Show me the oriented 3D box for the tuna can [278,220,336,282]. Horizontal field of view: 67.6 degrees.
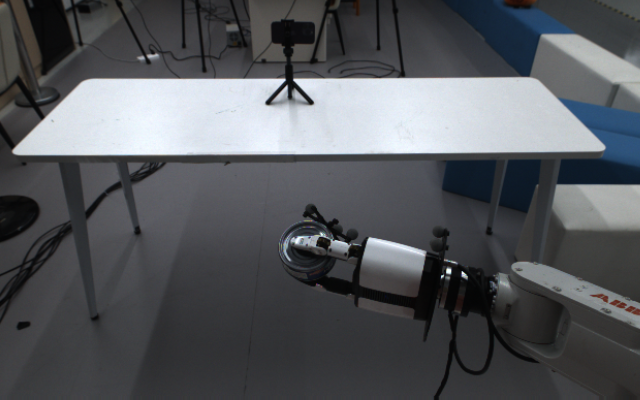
[{"bbox_3d":[-0.016,0.073,0.715,0.085,0.034,0.085,-4,58,6],"label":"tuna can"}]
